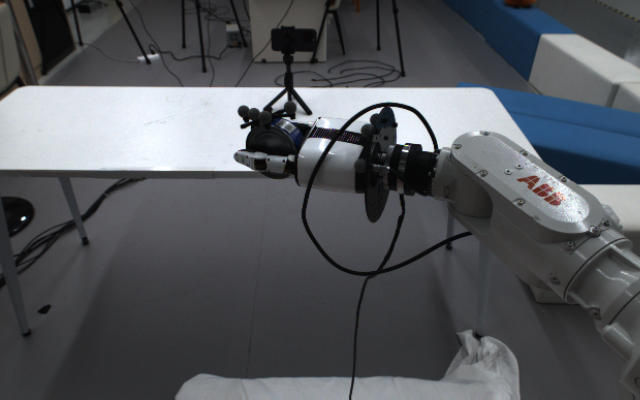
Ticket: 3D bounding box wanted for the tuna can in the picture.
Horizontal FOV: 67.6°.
[{"bbox_3d":[-0.062,-0.075,0.705,0.085,0.085,0.034,17,36,20],"label":"tuna can"}]
